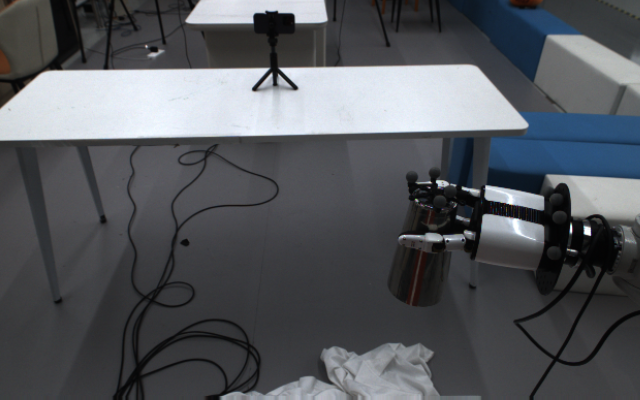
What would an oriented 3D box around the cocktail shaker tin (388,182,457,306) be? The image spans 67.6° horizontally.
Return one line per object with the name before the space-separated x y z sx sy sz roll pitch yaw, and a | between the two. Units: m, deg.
cocktail shaker tin | 0.162 0.063 0.736 0.093 0.170 0.093 2 33 -2
